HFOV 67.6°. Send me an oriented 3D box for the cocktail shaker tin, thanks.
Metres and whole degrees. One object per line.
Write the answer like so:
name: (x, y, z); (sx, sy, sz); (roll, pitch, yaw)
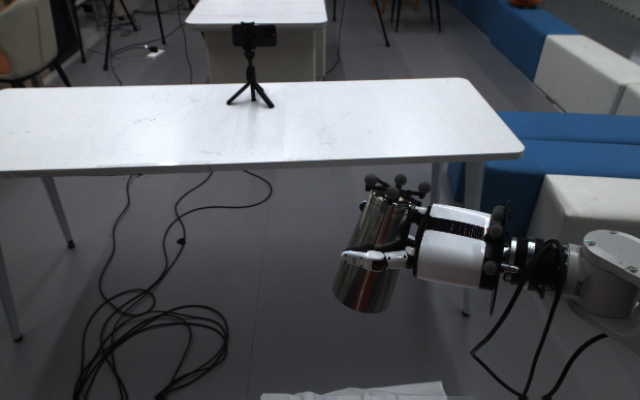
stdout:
cocktail shaker tin: (0.085, 0.067, 0.706); (0.093, 0.170, 0.093); (12, 24, -5)
